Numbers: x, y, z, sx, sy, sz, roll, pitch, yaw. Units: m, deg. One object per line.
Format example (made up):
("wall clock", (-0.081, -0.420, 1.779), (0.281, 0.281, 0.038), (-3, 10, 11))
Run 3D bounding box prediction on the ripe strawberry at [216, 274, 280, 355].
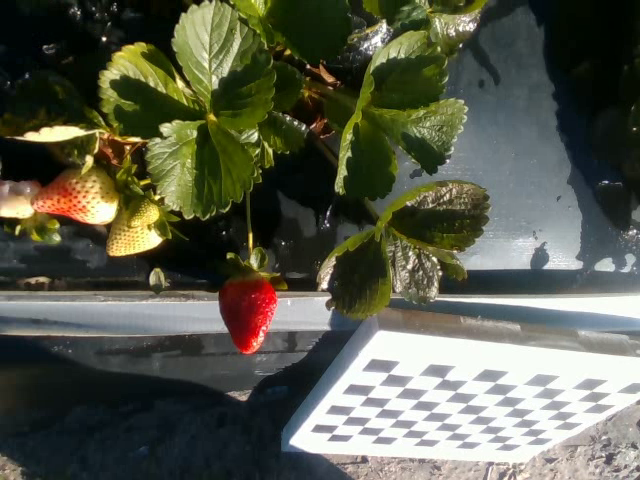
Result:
("ripe strawberry", (-0.042, 0.040, 0.306), (0.036, 0.045, 0.038), (10, -24, -11))
